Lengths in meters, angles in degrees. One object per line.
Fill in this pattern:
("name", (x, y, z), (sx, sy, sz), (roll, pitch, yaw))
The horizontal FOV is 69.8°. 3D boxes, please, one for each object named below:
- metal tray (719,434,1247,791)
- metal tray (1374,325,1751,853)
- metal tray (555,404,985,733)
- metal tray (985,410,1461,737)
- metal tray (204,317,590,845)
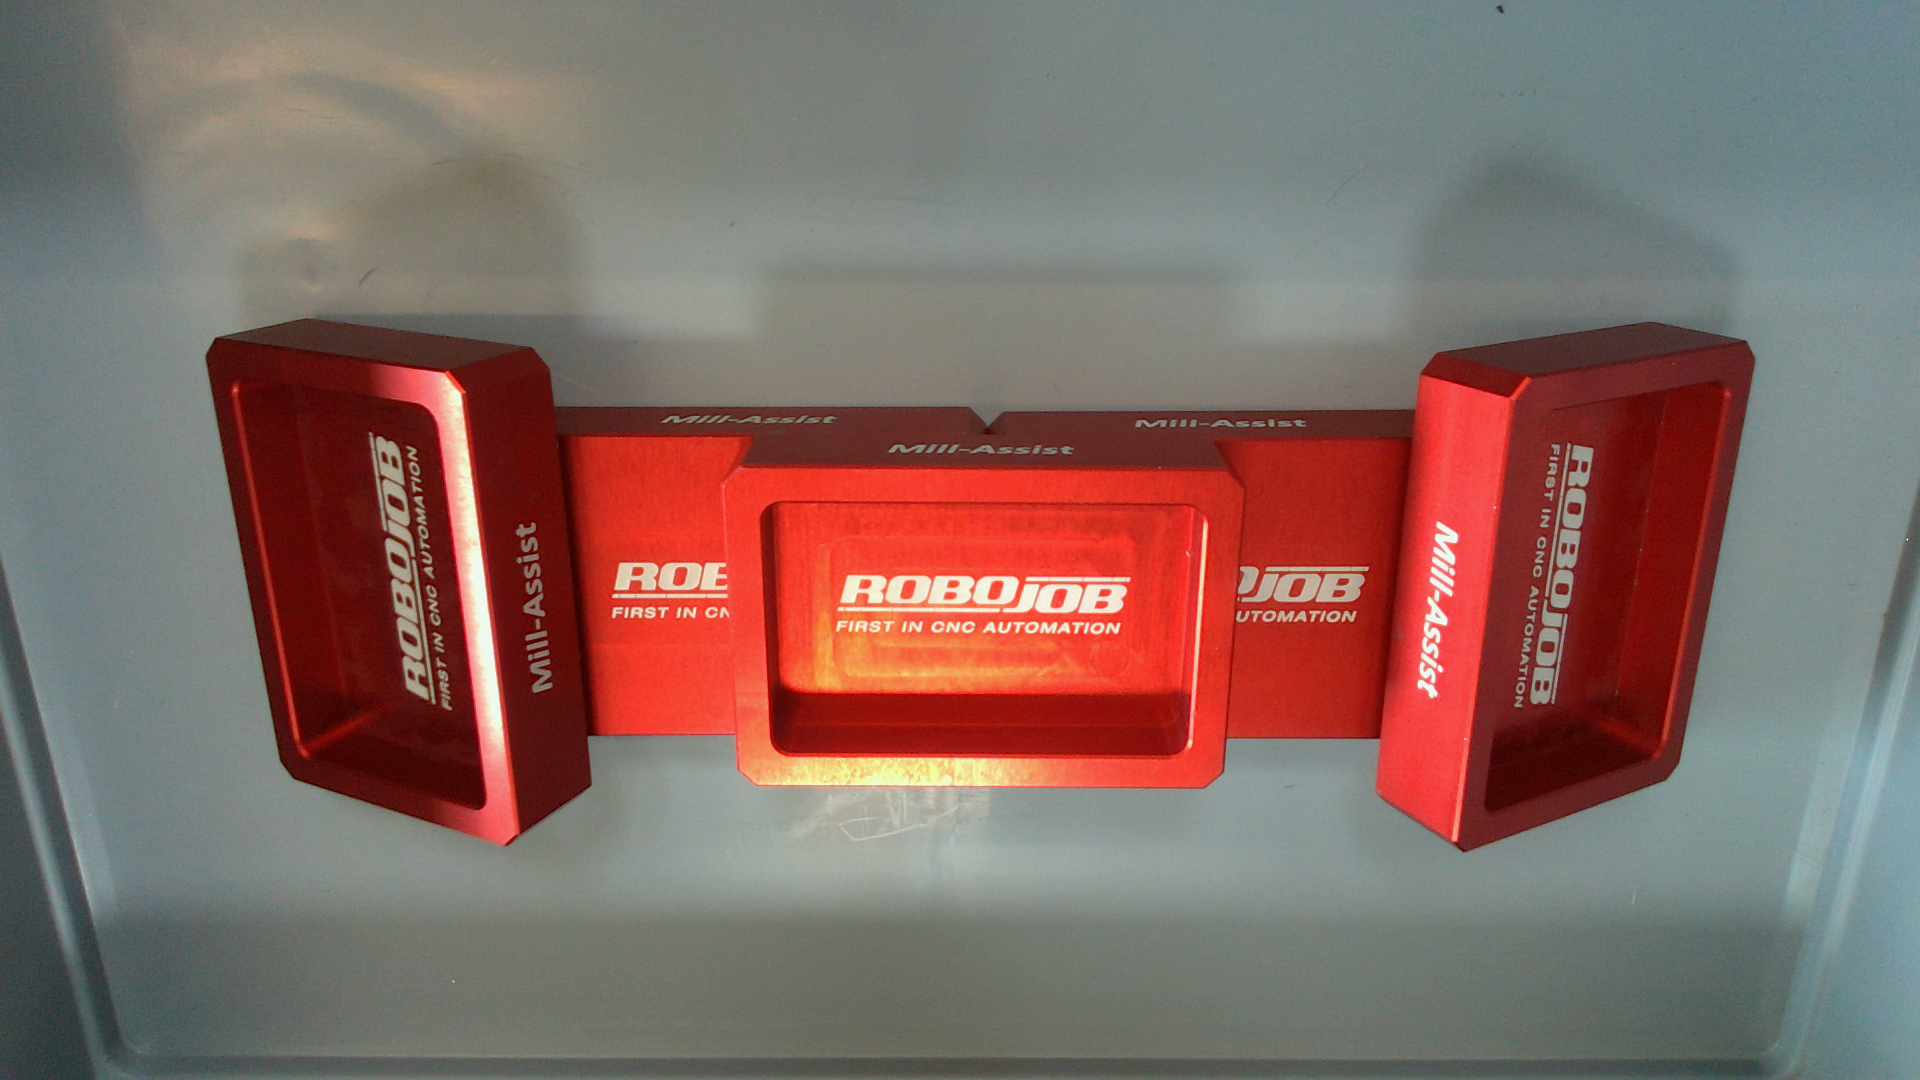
("metal tray", (0.005, 0.019, 0.365), (0.130, 0.030, 0.090), (1, 110, 0))
("metal tray", (0.162, 0.012, 0.375), (0.090, 0.030, 0.130), (-11, 113, -27))
("metal tray", (-0.058, 0.008, 0.394), (0.130, 0.030, 0.090), (0, 110, 0))
("metal tray", (0.072, 0.010, 0.395), (0.130, 0.030, 0.090), (0, 110, 0))
("metal tray", (-0.151, 0.010, 0.374), (0.090, 0.030, 0.130), (10, 112, 24))
